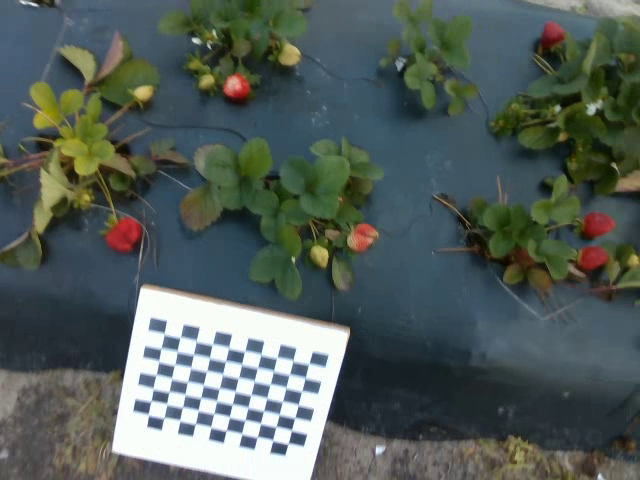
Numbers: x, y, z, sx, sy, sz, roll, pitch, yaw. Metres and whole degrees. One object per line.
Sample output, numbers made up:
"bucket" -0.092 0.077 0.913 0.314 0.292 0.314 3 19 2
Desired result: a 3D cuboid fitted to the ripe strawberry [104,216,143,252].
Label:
"ripe strawberry" -0.074 0.001 0.618 0.013 0.017 0.015 5 41 -52
